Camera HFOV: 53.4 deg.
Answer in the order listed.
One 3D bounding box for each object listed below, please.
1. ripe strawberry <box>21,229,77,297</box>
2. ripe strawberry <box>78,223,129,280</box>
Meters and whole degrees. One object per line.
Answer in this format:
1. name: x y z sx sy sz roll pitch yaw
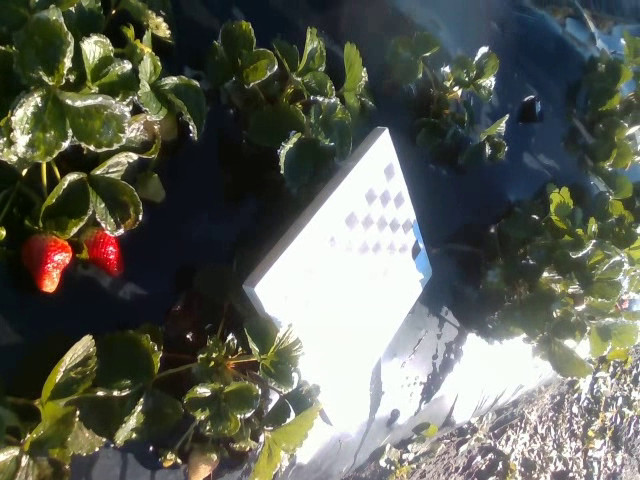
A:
1. ripe strawberry: -0.268 0.026 0.626 0.040 0.070 0.052 5 0 33
2. ripe strawberry: -0.226 0.012 0.657 0.040 0.059 0.044 10 50 43
